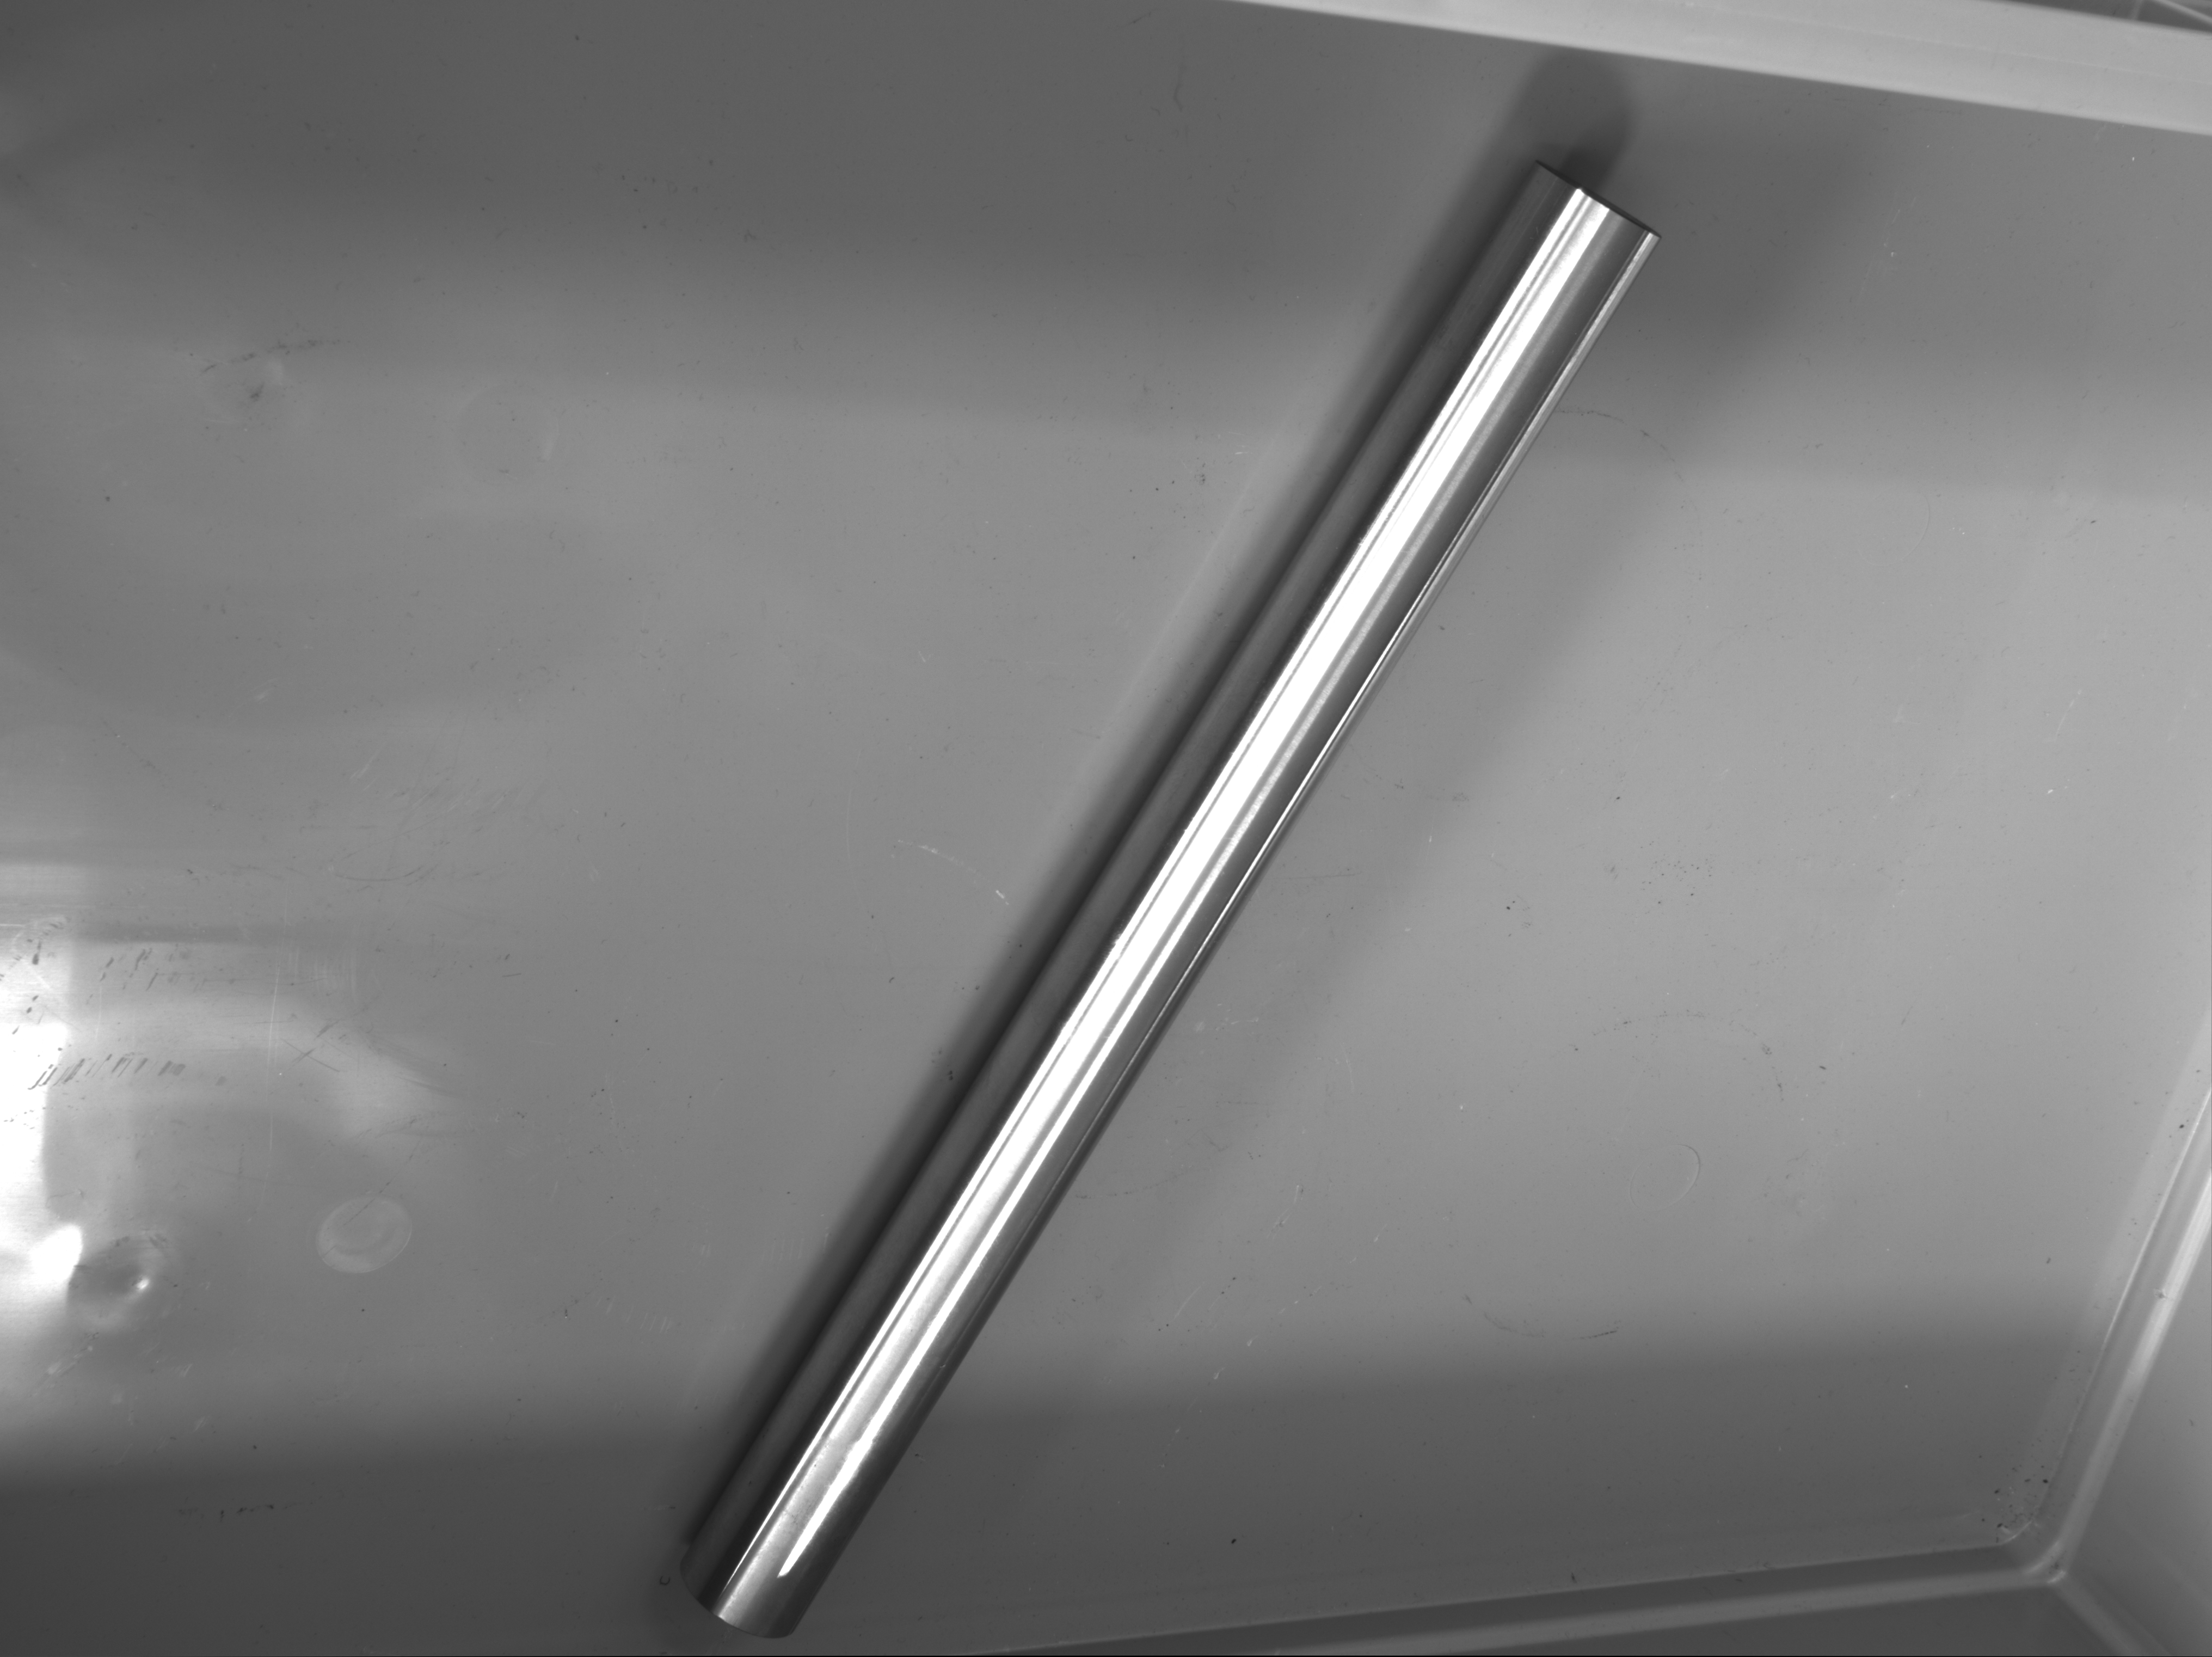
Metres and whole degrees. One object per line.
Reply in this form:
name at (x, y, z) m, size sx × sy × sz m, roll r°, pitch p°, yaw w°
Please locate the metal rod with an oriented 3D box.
metal rod at (0.006, 0.019, 0.650) m, size 0.025 × 0.025 × 0.300 m, roll 21°, pitch 107°, yaw -36°
